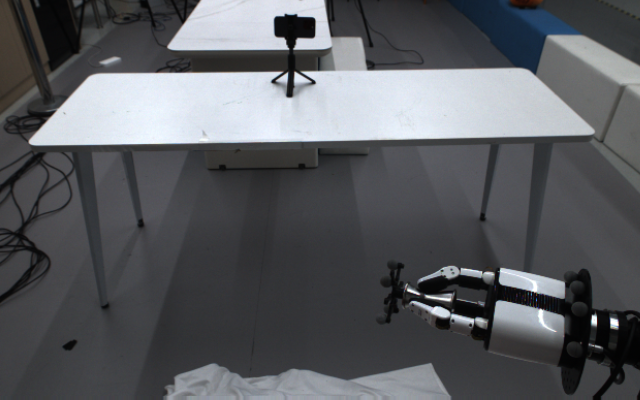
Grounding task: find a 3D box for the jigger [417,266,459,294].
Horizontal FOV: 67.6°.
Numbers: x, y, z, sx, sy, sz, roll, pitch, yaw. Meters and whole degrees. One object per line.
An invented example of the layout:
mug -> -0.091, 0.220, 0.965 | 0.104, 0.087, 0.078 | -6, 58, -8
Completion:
jigger -> 0.160, 0.137, 0.679 | 0.071, 0.043, 0.043 | 8, 34, 23
